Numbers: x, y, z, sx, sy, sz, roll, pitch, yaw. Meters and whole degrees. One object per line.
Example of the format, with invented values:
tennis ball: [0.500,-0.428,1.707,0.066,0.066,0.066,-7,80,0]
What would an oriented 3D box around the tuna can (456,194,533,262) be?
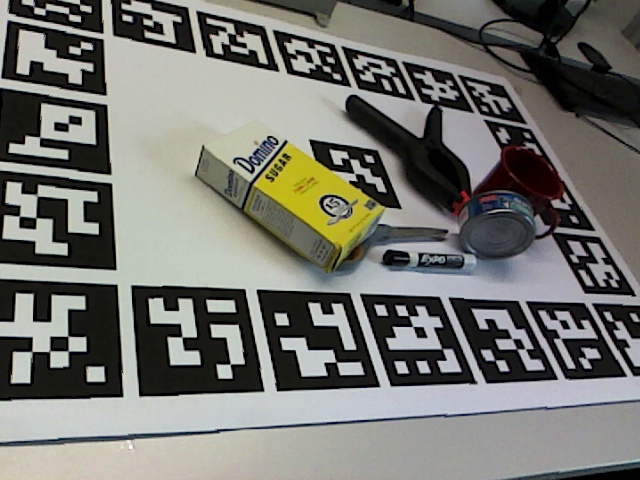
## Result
tuna can: [0.207,-0.012,0.736,0.085,0.086,0.034,18,45,-16]

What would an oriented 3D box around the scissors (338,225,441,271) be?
scissors: [0.063,-0.009,0.693,0.201,0.016,0.088,-5,51,-36]

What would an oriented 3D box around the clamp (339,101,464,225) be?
clamp: [0.131,-0.108,0.828,0.164,0.037,0.204,-5,56,-34]

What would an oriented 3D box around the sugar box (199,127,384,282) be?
sugar box: [-0.030,-0.043,0.646,0.177,0.045,0.092,38,43,14]

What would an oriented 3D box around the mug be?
mug: [0.244,-0.048,0.797,0.093,0.081,0.117,-24,64,-42]

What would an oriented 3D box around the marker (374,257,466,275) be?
marker: [0.112,0.028,0.692,0.120,0.020,0.020,1,53,-29]
